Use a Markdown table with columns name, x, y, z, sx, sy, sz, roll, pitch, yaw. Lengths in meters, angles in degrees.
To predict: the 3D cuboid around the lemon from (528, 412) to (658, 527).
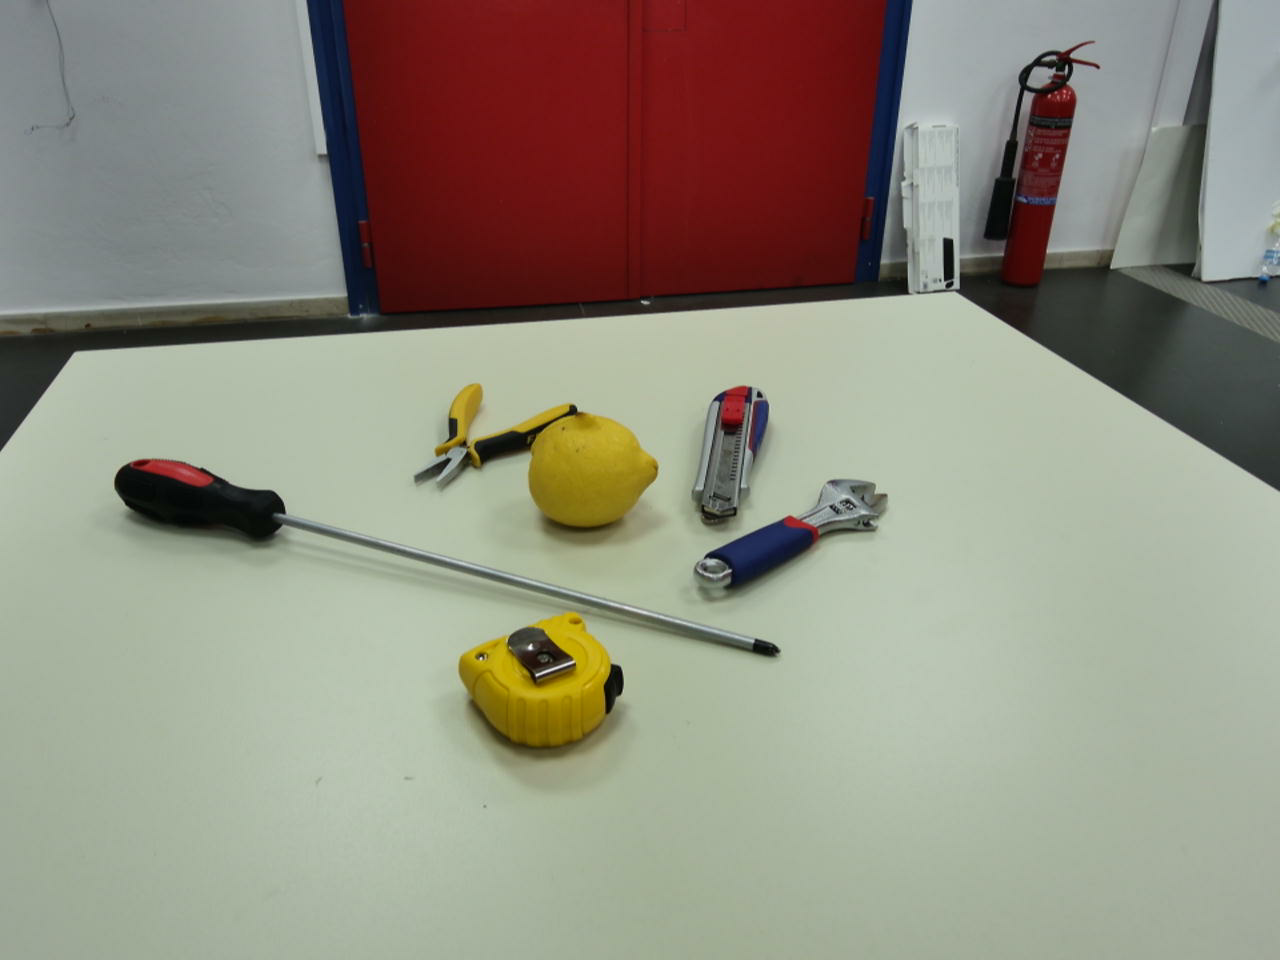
| name | x | y | z | sx | sy | sz | roll | pitch | yaw |
| --- | --- | --- | --- | --- | --- | --- | --- | --- | --- |
| lemon | -0.032 | -0.009 | 0.593 | 0.071 | 0.071 | 0.070 | 24 | 34 | 38 |
